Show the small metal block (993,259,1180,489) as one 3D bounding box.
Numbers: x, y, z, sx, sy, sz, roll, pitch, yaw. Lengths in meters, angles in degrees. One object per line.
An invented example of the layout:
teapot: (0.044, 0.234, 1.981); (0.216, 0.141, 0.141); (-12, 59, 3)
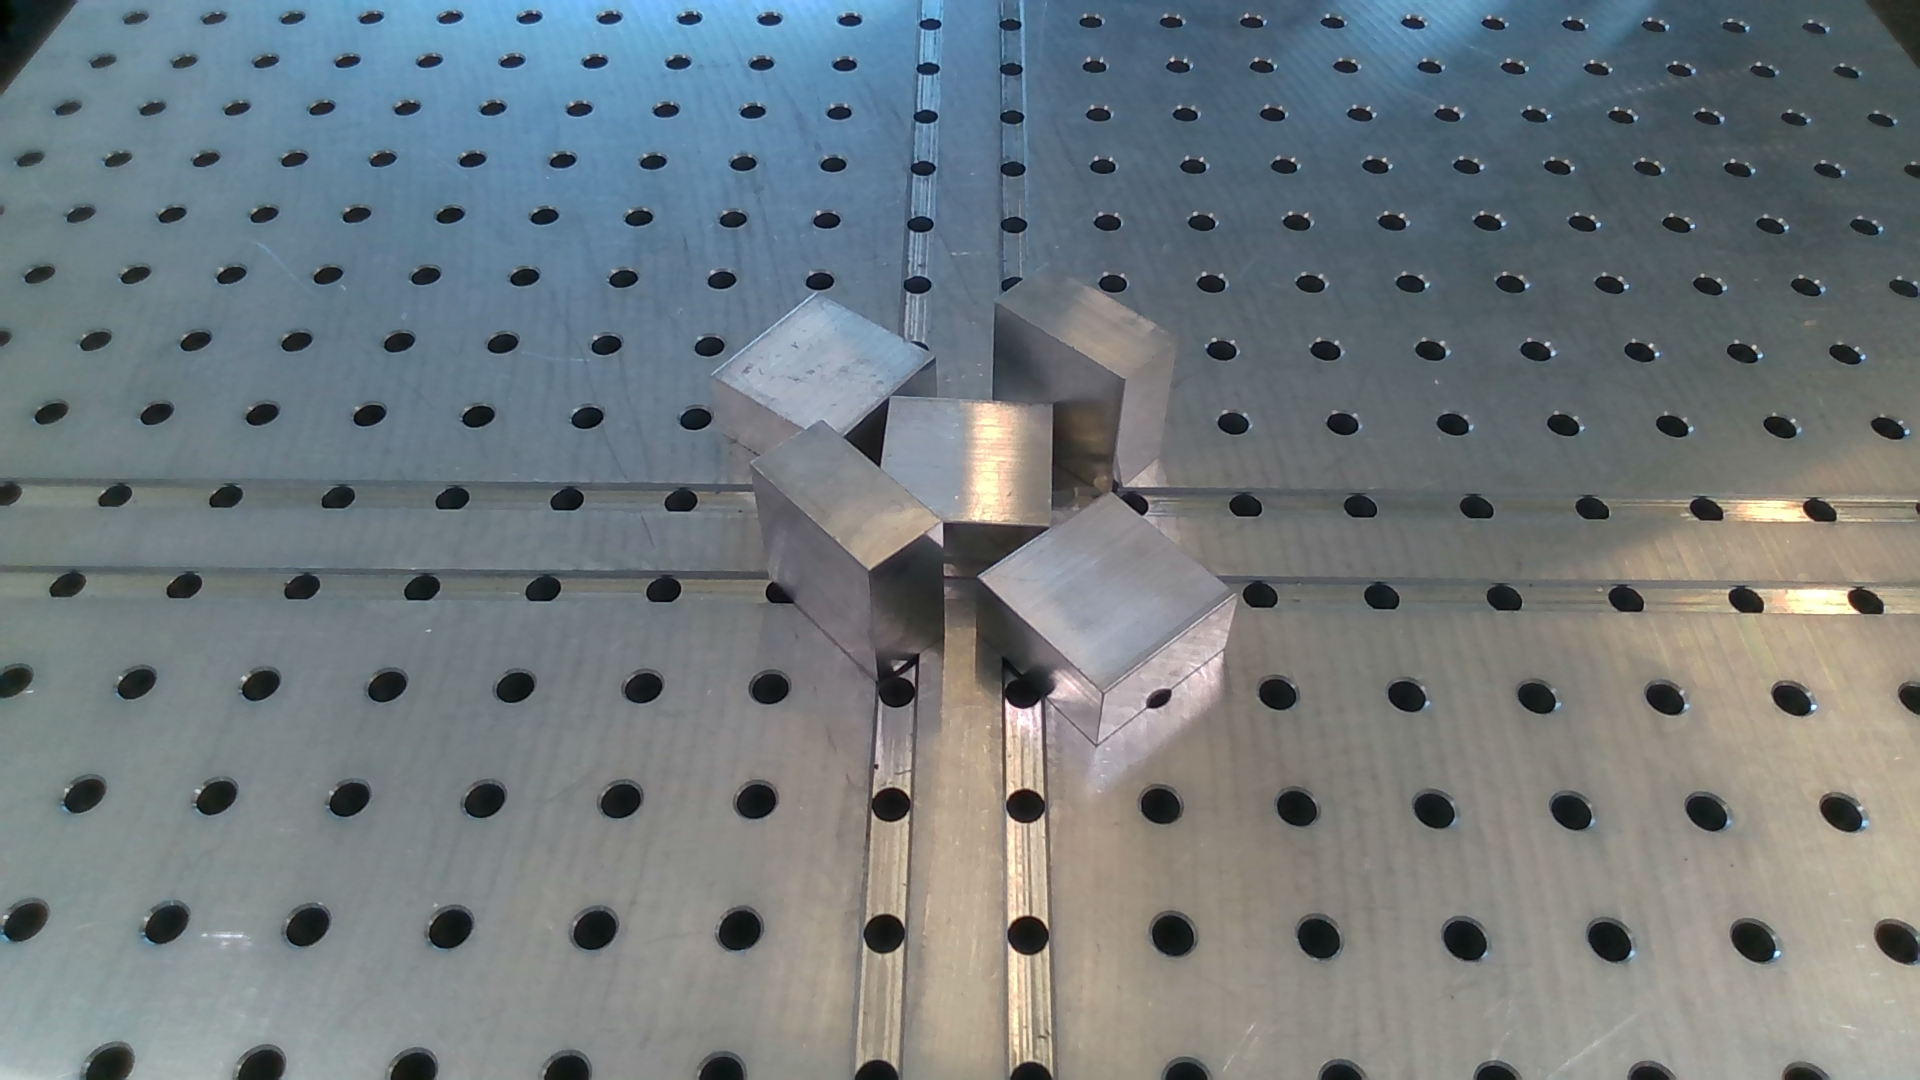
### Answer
small metal block: (0.037, -0.049, 0.421); (0.050, 0.050, 0.025); (36, 59, 27)

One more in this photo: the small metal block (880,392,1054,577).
small metal block: (0.002, -0.016, 0.410); (0.050, 0.025, 0.050); (3, 49, 1)

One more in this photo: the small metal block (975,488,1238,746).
small metal block: (0.039, 0.020, 0.380); (0.050, 0.025, 0.050); (-33, 57, -24)

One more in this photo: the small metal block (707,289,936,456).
small metal block: (-0.043, -0.047, 0.436); (0.050, 0.025, 0.050); (31, 57, 23)

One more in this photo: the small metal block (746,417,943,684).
small metal block: (-0.031, 0.003, 0.378); (0.025, 0.050, 0.050); (-35, 58, -26)
